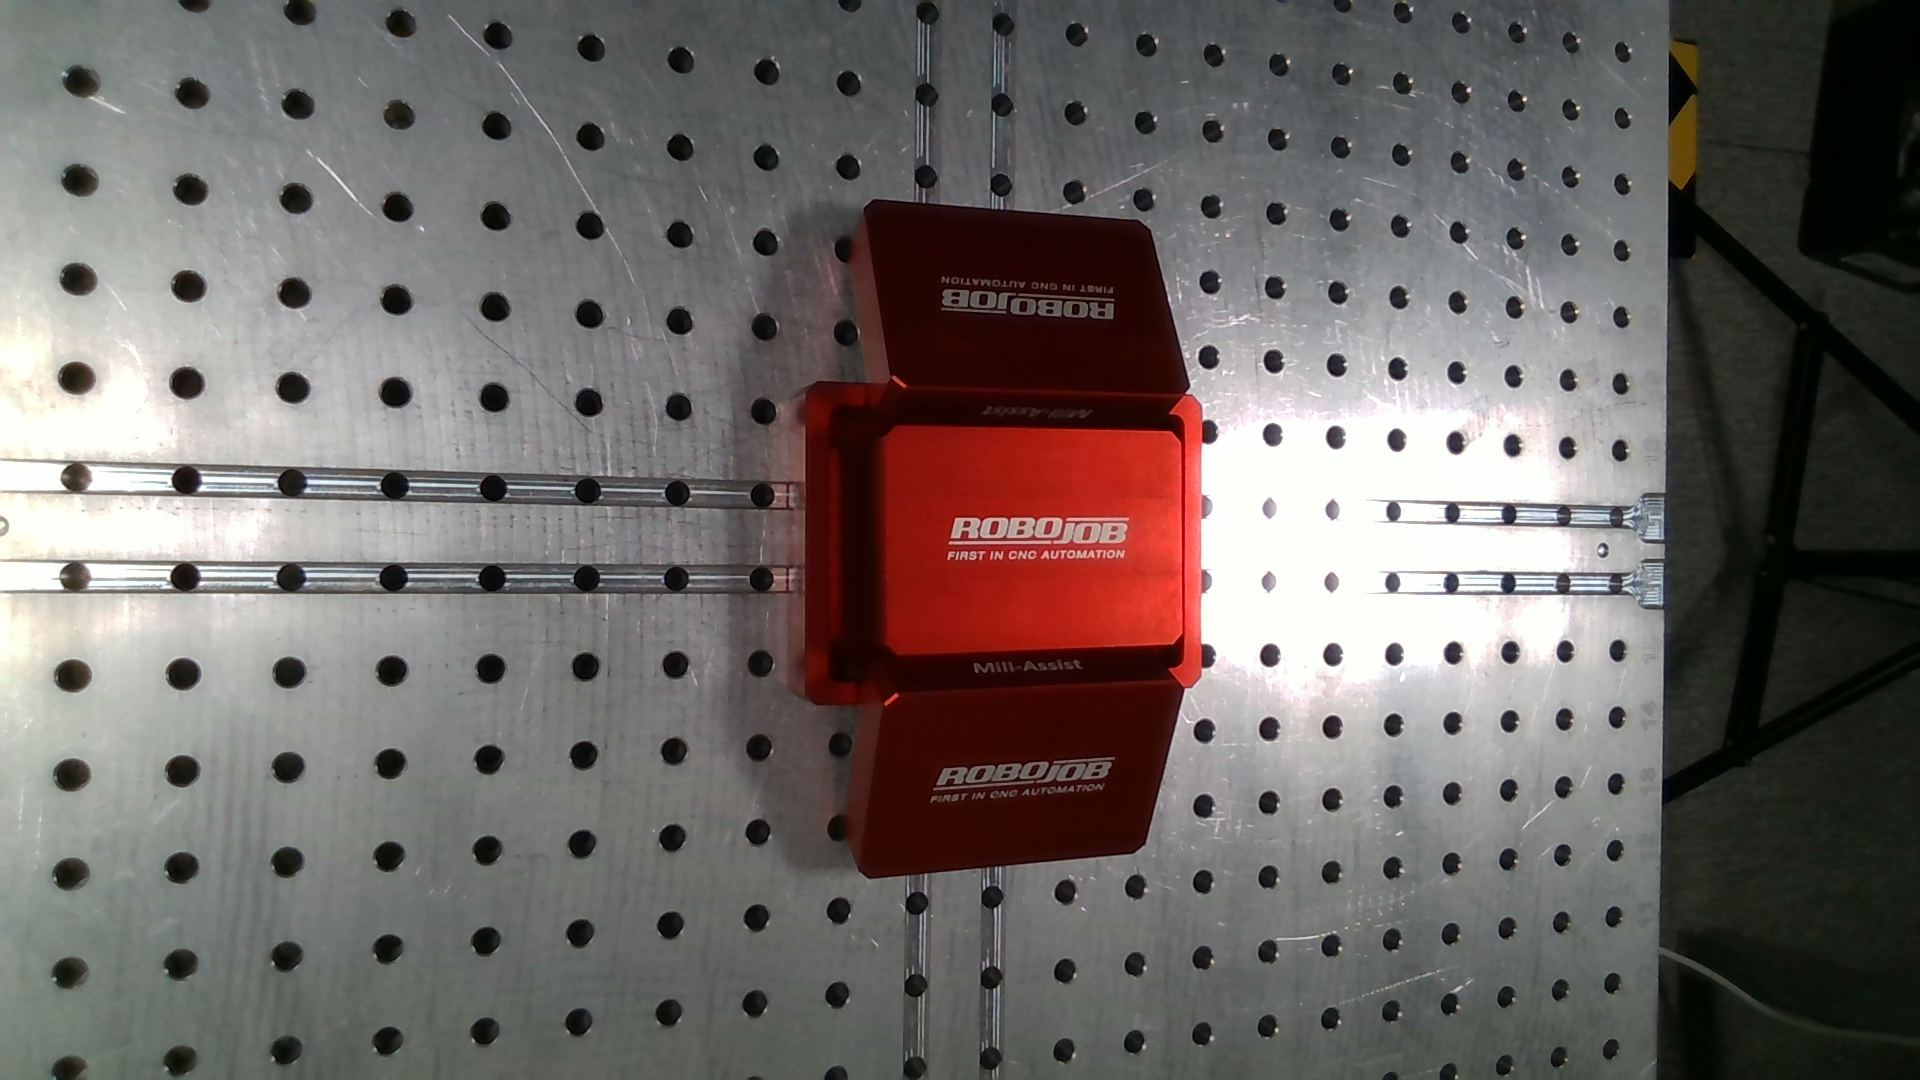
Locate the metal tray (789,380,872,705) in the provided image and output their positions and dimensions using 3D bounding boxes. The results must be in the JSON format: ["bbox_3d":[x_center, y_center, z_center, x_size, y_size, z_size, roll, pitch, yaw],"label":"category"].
[{"bbox_3d":[-0.025,0.001,0.577,0.090,0.030,0.130,0,90,-20],"label":"metal tray"}]

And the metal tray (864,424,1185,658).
[{"bbox_3d":[0.027,0.000,0.563,0.130,0.030,0.090,-1,90,-20],"label":"metal tray"}]

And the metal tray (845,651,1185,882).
[{"bbox_3d":[0.022,0.092,0.574,0.130,0.030,0.090,-1,118,-20],"label":"metal tray"}]

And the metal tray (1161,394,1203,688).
[{"bbox_3d":[0.060,0.000,0.608,0.090,0.030,0.130,0,90,-20],"label":"metal tray"}]

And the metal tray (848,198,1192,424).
[{"bbox_3d":[0.024,-0.093,0.575,0.130,0.030,0.090,0,64,-20],"label":"metal tray"}]
